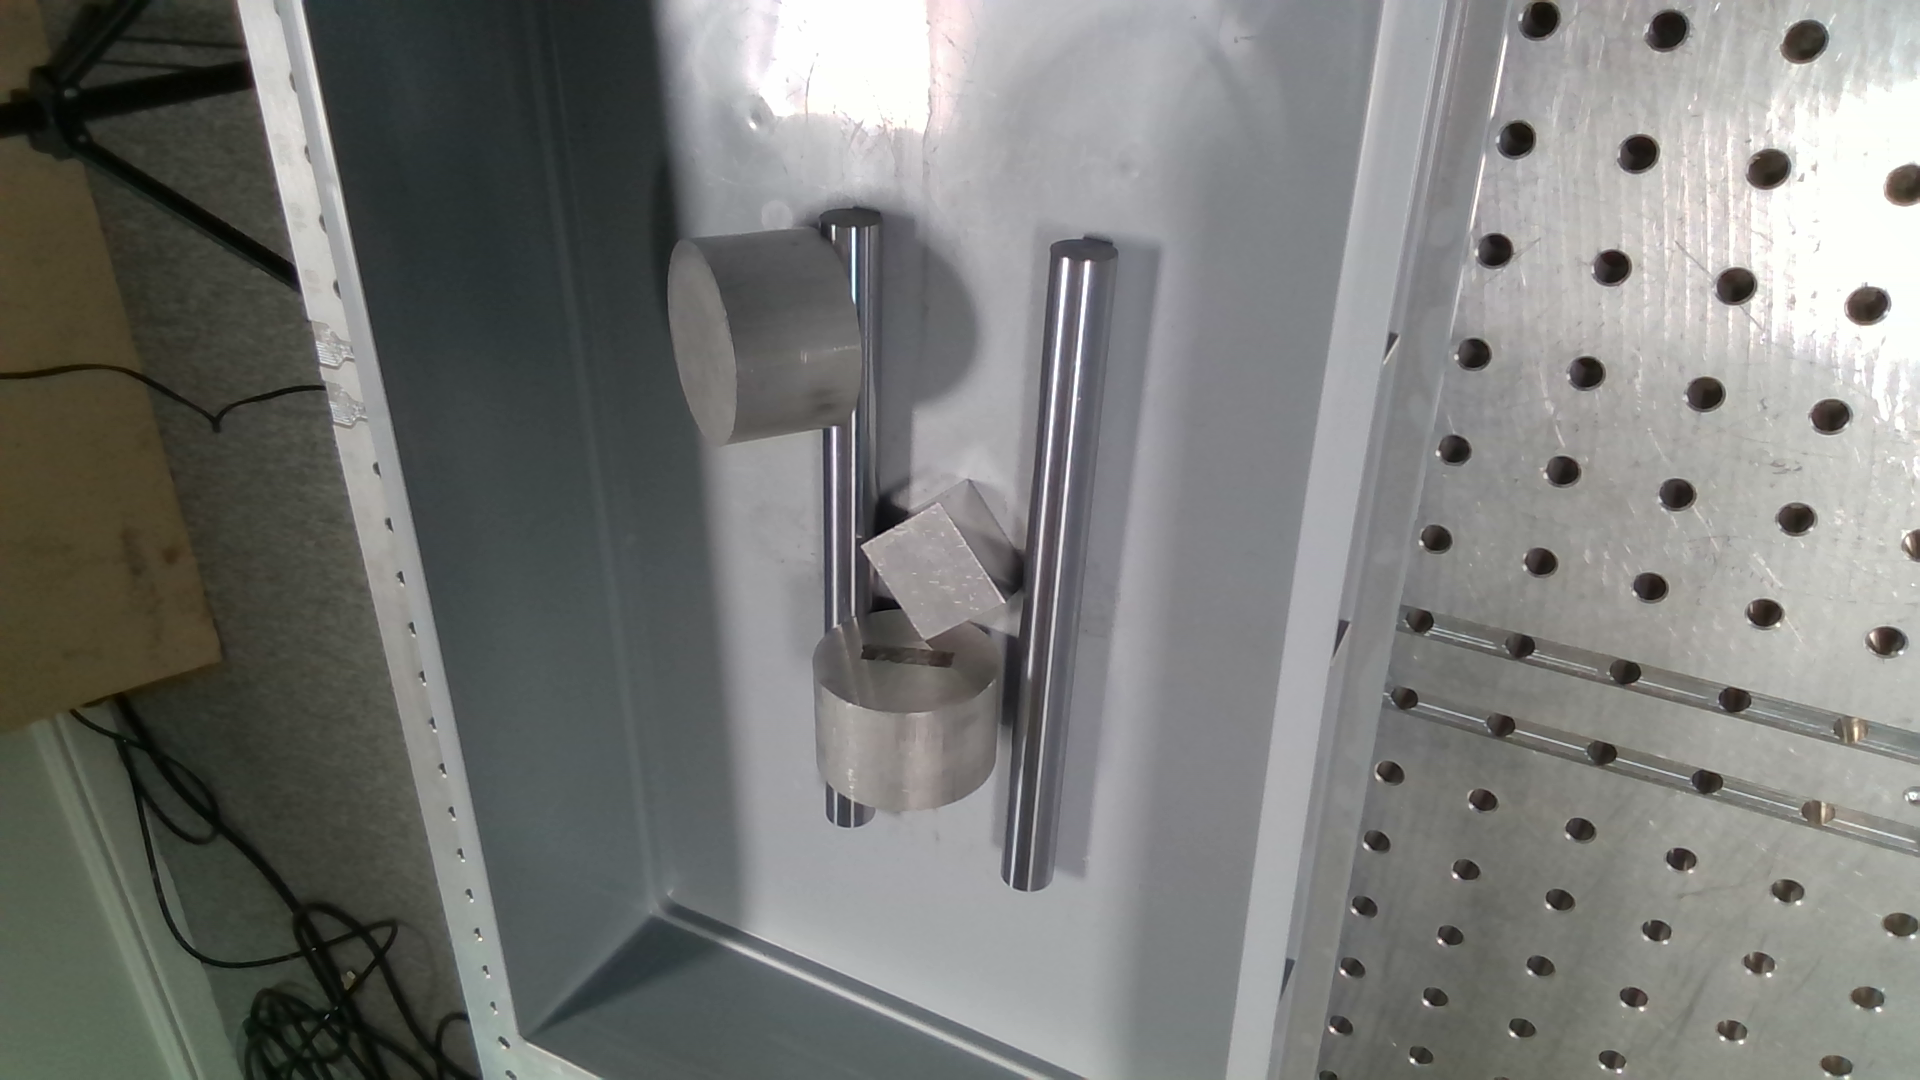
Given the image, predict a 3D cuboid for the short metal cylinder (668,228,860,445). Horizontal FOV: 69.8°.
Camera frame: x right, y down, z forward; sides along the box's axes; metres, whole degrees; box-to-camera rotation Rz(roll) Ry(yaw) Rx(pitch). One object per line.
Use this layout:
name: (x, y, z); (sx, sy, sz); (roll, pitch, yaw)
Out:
short metal cylinder: (-0.079, -0.081, 0.543); (0.080, 0.050, 0.080); (39, 136, 53)

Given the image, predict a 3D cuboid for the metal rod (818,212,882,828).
metal rod: (-0.049, 0.005, 0.610); (0.025, 0.025, 0.301); (17, 123, 23)

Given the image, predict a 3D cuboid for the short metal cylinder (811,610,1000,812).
short metal cylinder: (-0.024, 0.072, 0.597); (0.080, 0.080, 0.050); (16, 122, 24)

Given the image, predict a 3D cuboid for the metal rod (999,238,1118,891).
metal rod: (0.038, 0.026, 0.569); (0.025, 0.025, 0.301); (17, 123, 23)

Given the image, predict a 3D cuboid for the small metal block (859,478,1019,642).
small metal block: (-0.007, 0.009, 0.587); (0.050, 0.025, 0.050); (-28, 99, 39)
